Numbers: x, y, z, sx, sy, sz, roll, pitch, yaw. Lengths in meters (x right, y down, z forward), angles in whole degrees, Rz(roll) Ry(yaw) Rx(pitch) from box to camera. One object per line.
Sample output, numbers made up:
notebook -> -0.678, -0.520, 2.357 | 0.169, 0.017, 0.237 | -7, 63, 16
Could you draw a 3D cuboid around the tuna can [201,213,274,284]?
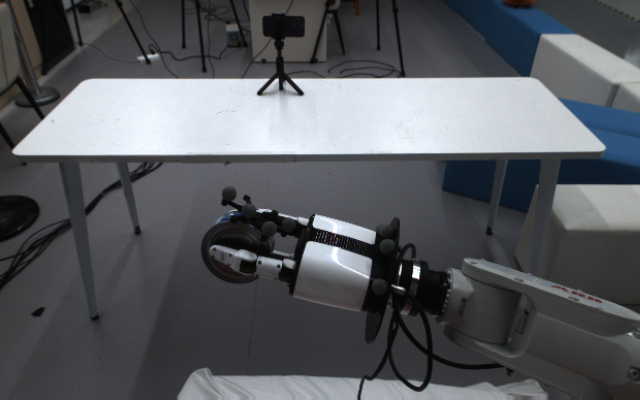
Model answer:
tuna can -> -0.099, 0.059, 0.600 | 0.085, 0.085, 0.034 | 4, 20, 3
